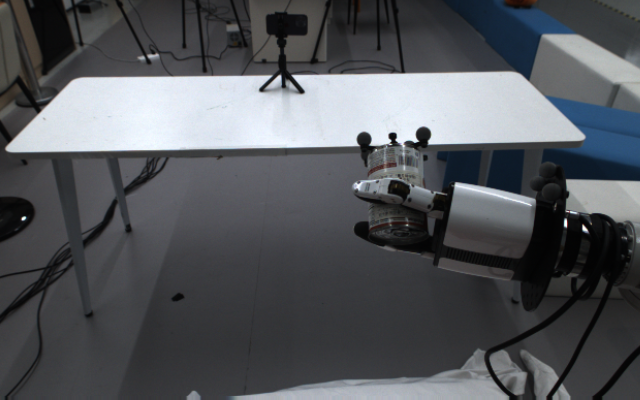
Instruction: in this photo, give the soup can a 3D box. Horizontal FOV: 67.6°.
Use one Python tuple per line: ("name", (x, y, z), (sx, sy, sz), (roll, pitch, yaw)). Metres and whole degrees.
("soup can", (0.090, -0.005, 0.558), (0.067, 0.067, 0.101), (2, 68, -1))
